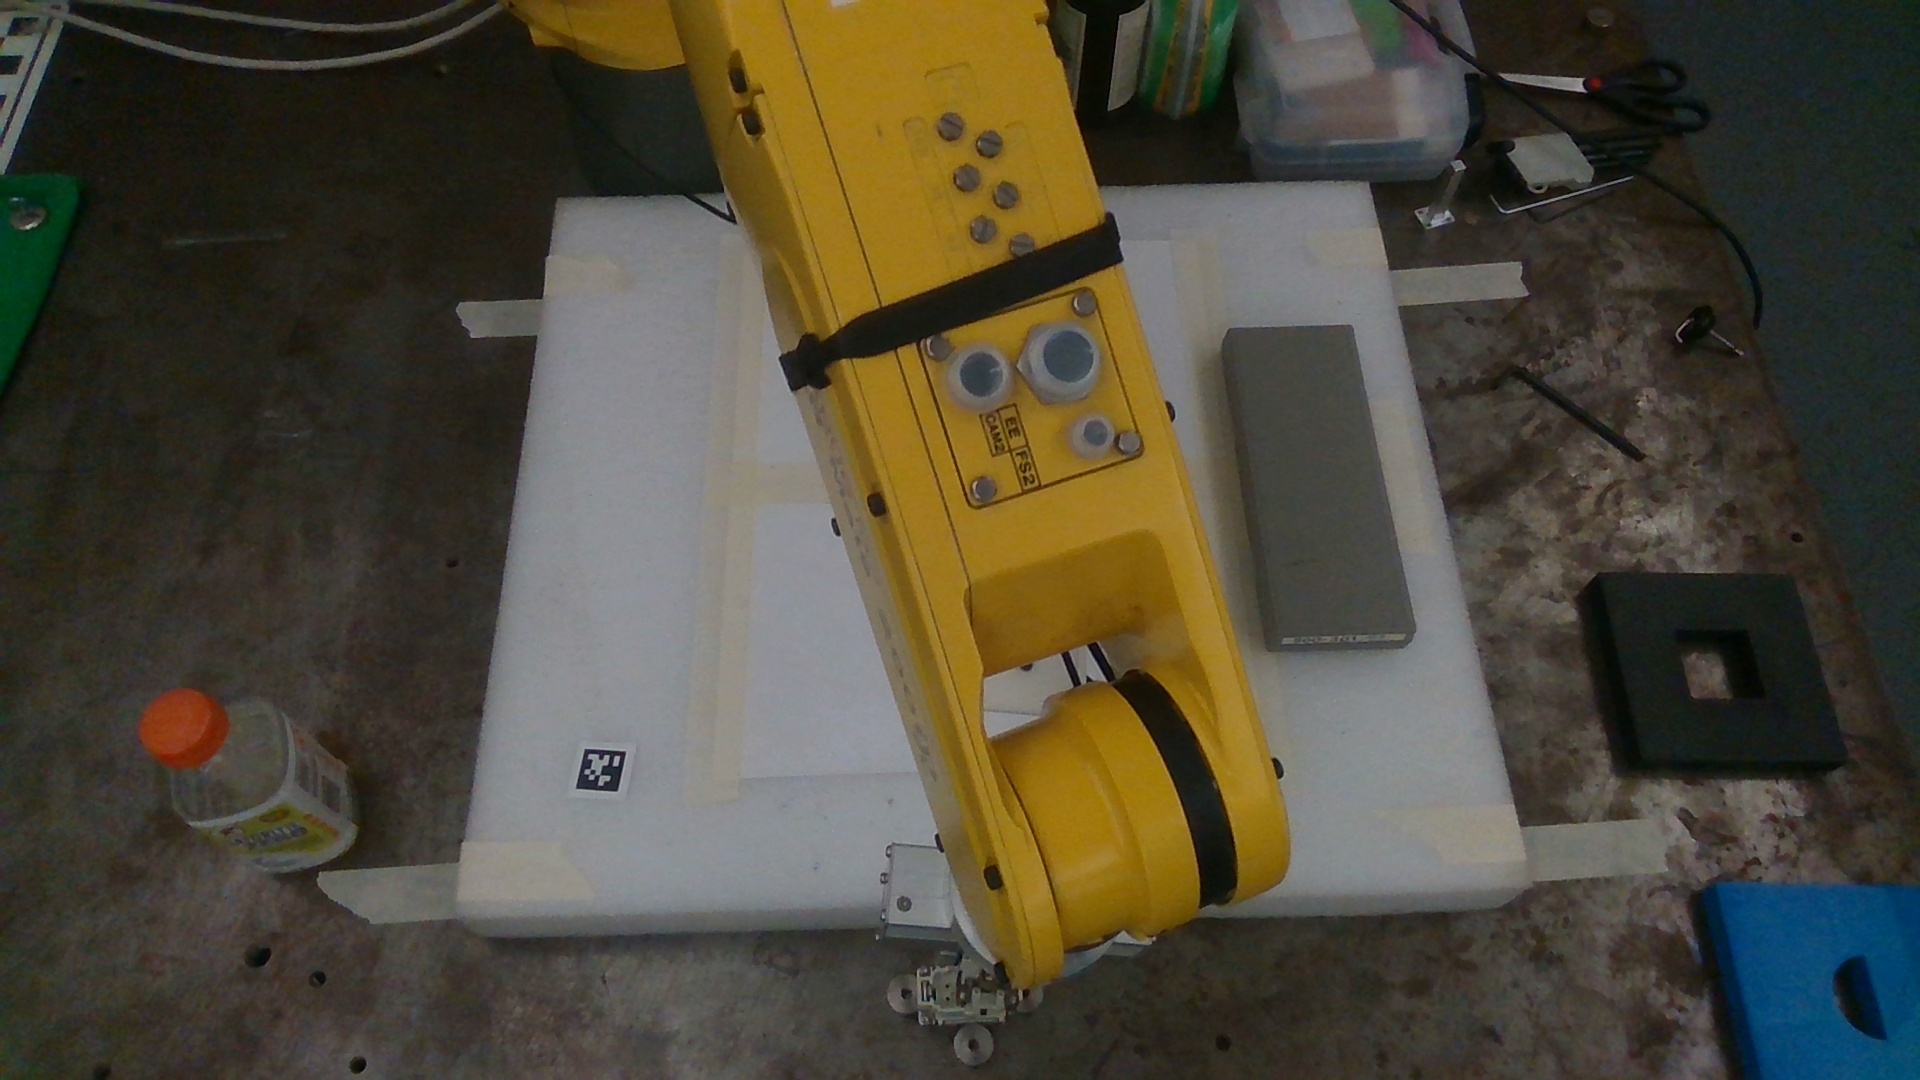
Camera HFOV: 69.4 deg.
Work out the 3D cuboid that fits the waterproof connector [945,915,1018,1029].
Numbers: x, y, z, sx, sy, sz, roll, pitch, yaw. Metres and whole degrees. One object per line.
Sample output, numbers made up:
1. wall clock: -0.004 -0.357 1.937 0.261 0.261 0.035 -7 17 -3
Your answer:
1. waterproof connector: 0.011 0.236 0.758 0.037 0.038 0.069 6 20 -4
